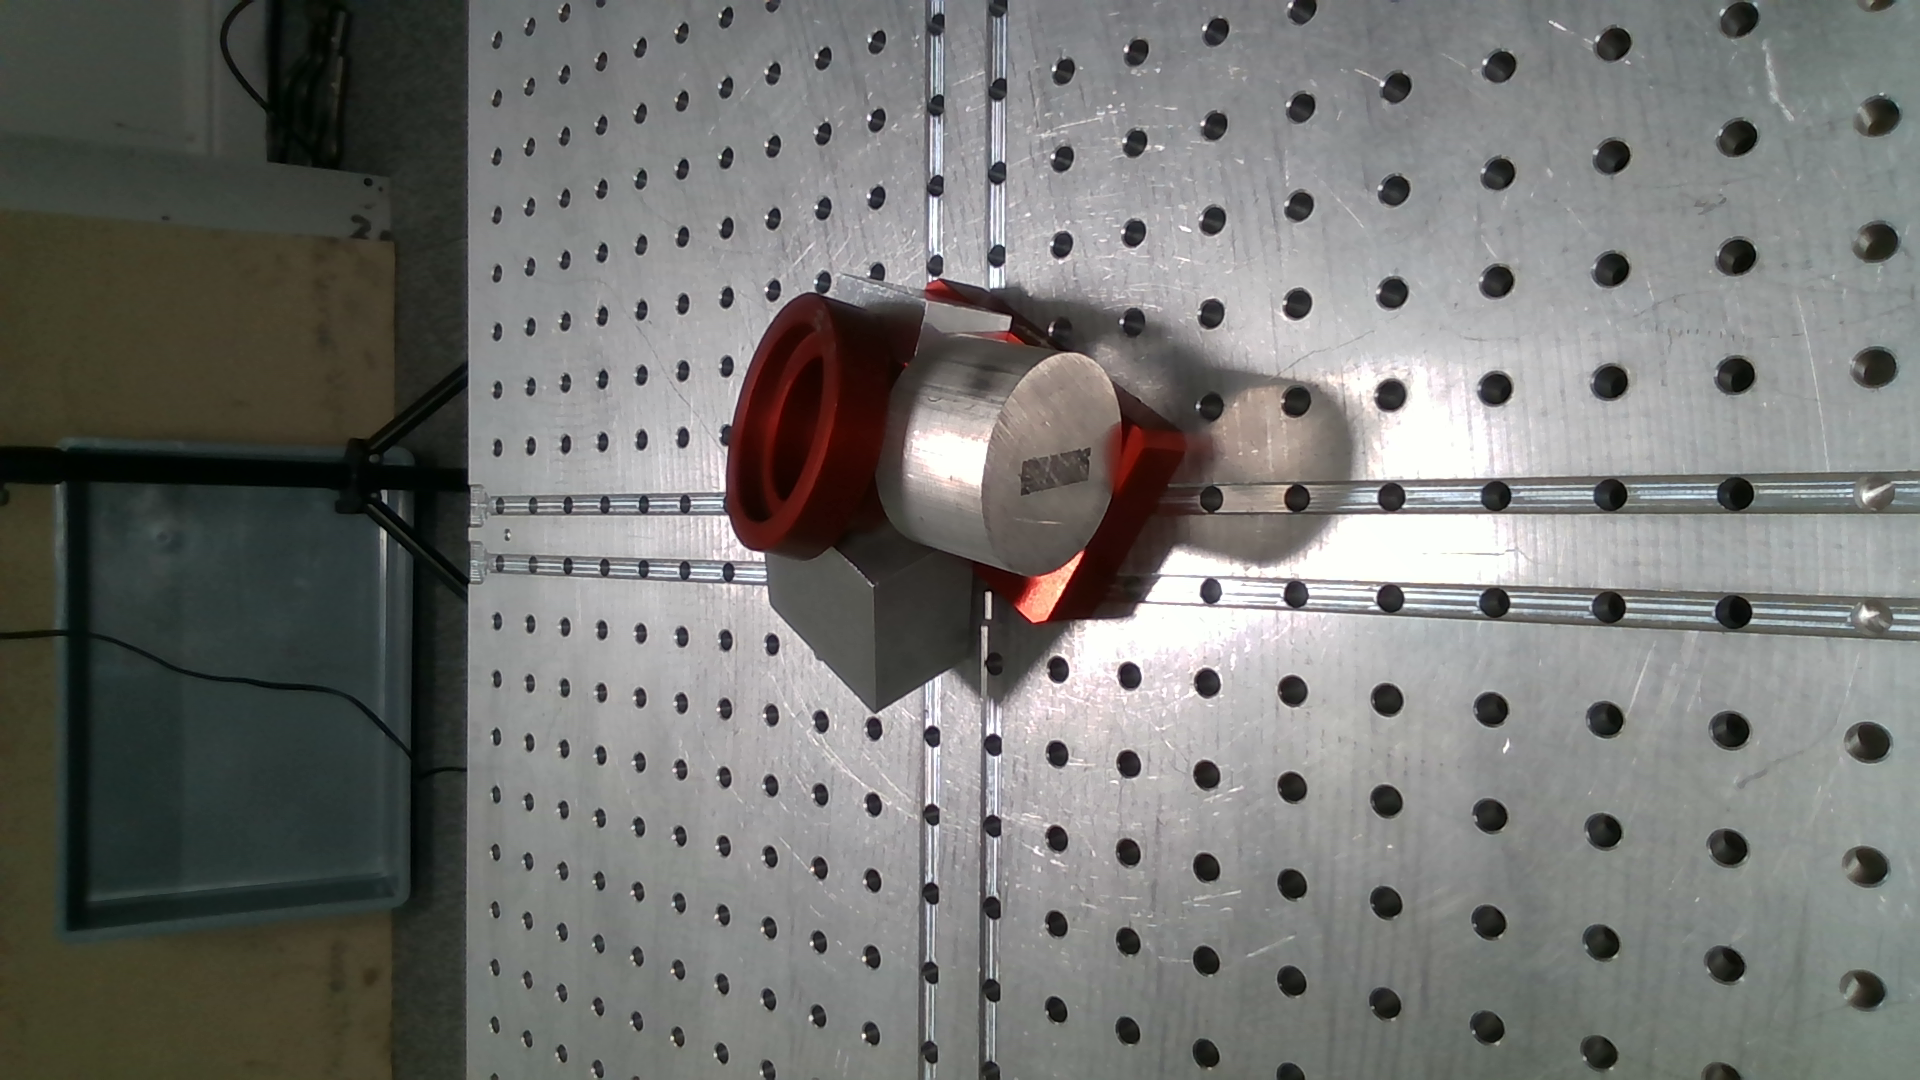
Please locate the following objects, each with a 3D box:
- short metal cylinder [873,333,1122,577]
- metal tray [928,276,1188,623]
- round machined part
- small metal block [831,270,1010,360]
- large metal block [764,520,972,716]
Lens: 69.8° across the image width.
[{"bbox_3d":[0.015,-0.032,0.497,0.050,0.080,0.080,17,101,39],"label":"short metal cylinder"},{"bbox_3d":[0.020,-0.038,0.565,0.130,0.030,0.090,42,116,32],"label":"metal tray"},{"bbox_3d":[-0.050,-0.040,0.518,0.098,0.042,0.098,-31,53,53],"label":"round machined part"},{"bbox_3d":[-0.018,-0.085,0.542,0.050,0.050,0.025,24,106,38],"label":"small metal block"},{"bbox_3d":[-0.041,0.012,0.579,0.080,0.050,0.080,41,146,32],"label":"large metal block"}]
